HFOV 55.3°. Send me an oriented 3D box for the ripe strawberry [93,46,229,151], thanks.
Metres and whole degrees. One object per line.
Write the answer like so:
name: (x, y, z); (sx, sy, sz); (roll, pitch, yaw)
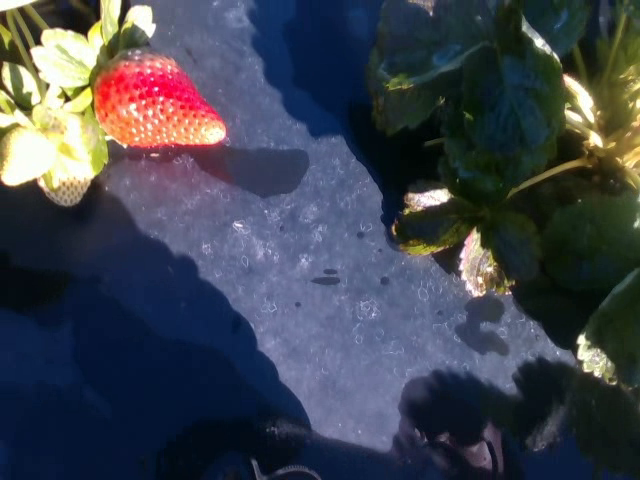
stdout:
ripe strawberry: (-0.064, -0.055, 0.254); (0.064, 0.050, 0.052); (22, 19, 7)
